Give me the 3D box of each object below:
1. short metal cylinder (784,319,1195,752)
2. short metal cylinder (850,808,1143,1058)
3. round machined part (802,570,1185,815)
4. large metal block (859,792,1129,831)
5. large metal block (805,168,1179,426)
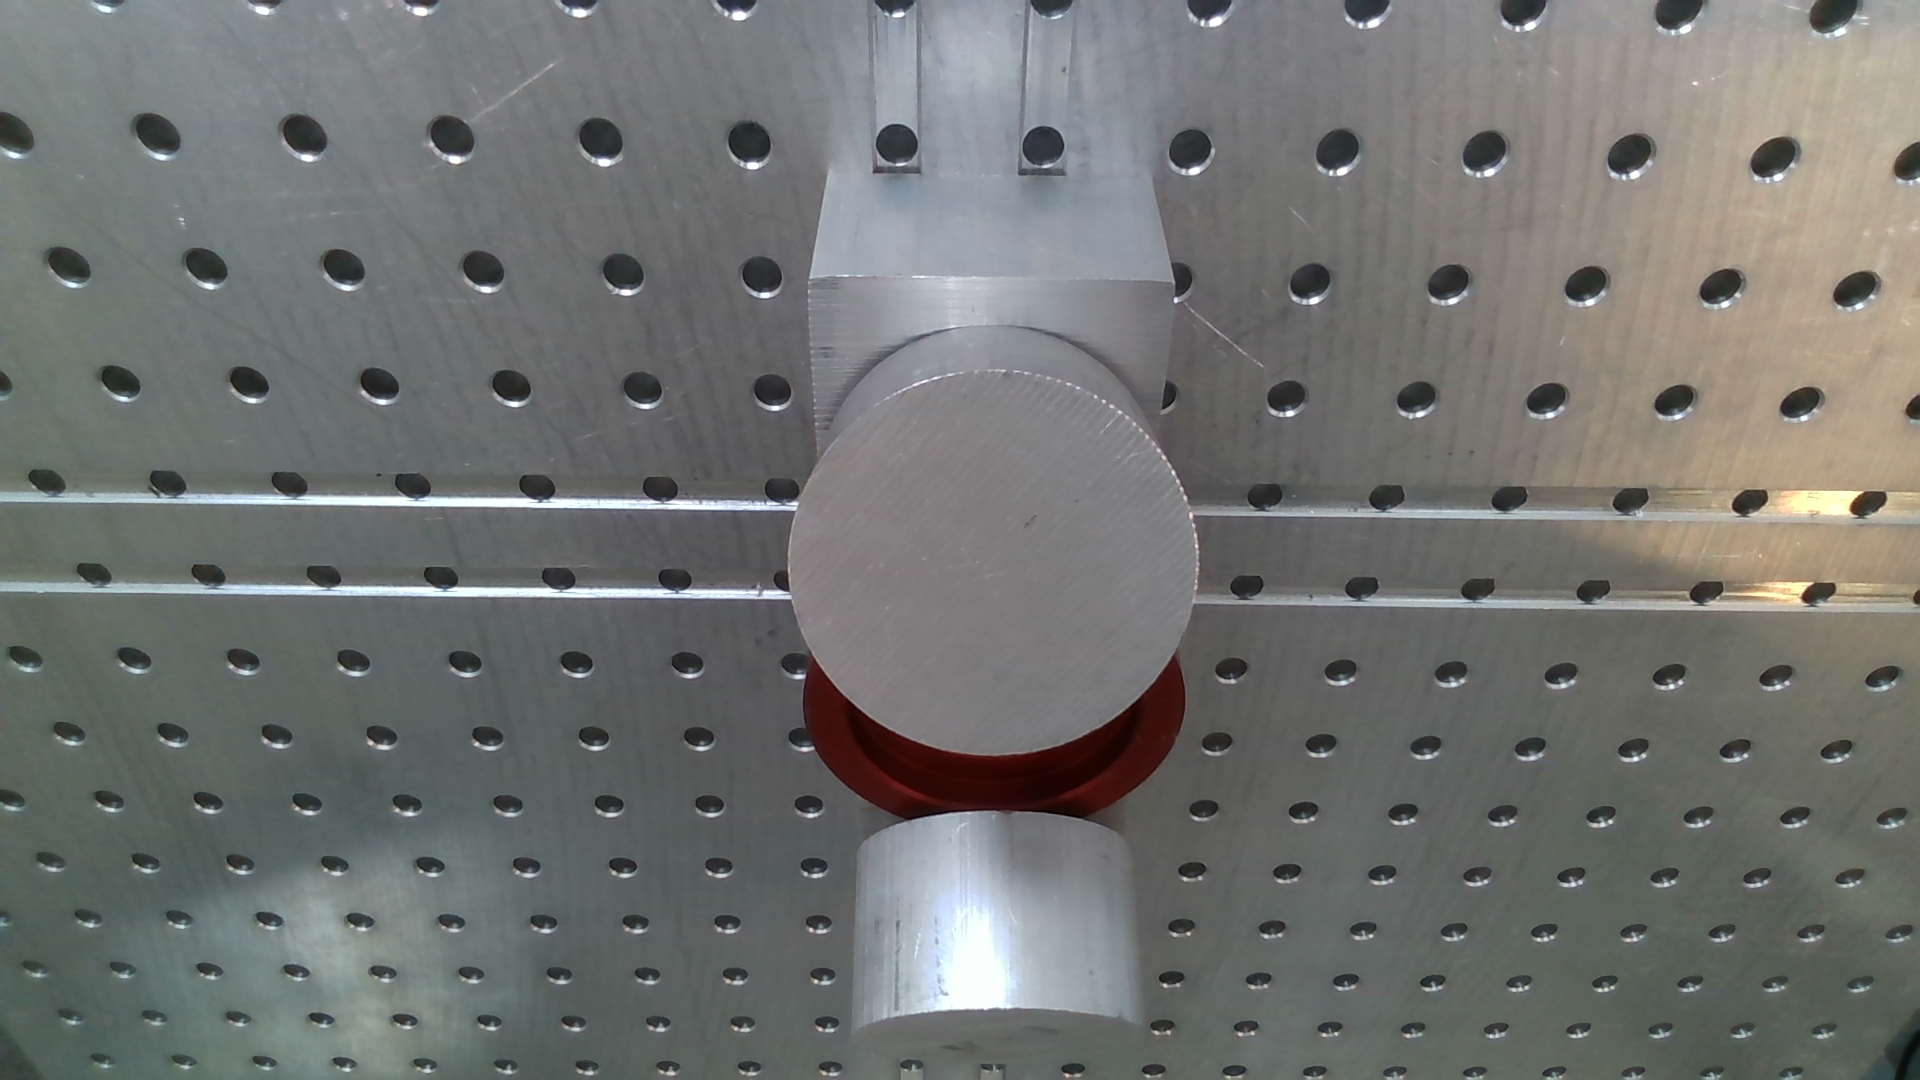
[{"bbox_3d":[0.006,-0.003,0.291,0.080,0.050,0.080,0,109,1],"label":"short metal cylinder"},{"bbox_3d":[0.010,0.113,0.389,0.080,0.050,0.080,0,150,0],"label":"short metal cylinder"},{"bbox_3d":[0.008,0.031,0.368,0.098,0.042,0.098,0,130,0],"label":"round machined part"},{"bbox_3d":[0.010,0.072,0.436,0.080,0.050,0.080,-1,130,1],"label":"large metal block"},{"bbox_3d":[0.006,-0.043,0.339,0.080,0.050,0.080,1,130,0],"label":"large metal block"}]
